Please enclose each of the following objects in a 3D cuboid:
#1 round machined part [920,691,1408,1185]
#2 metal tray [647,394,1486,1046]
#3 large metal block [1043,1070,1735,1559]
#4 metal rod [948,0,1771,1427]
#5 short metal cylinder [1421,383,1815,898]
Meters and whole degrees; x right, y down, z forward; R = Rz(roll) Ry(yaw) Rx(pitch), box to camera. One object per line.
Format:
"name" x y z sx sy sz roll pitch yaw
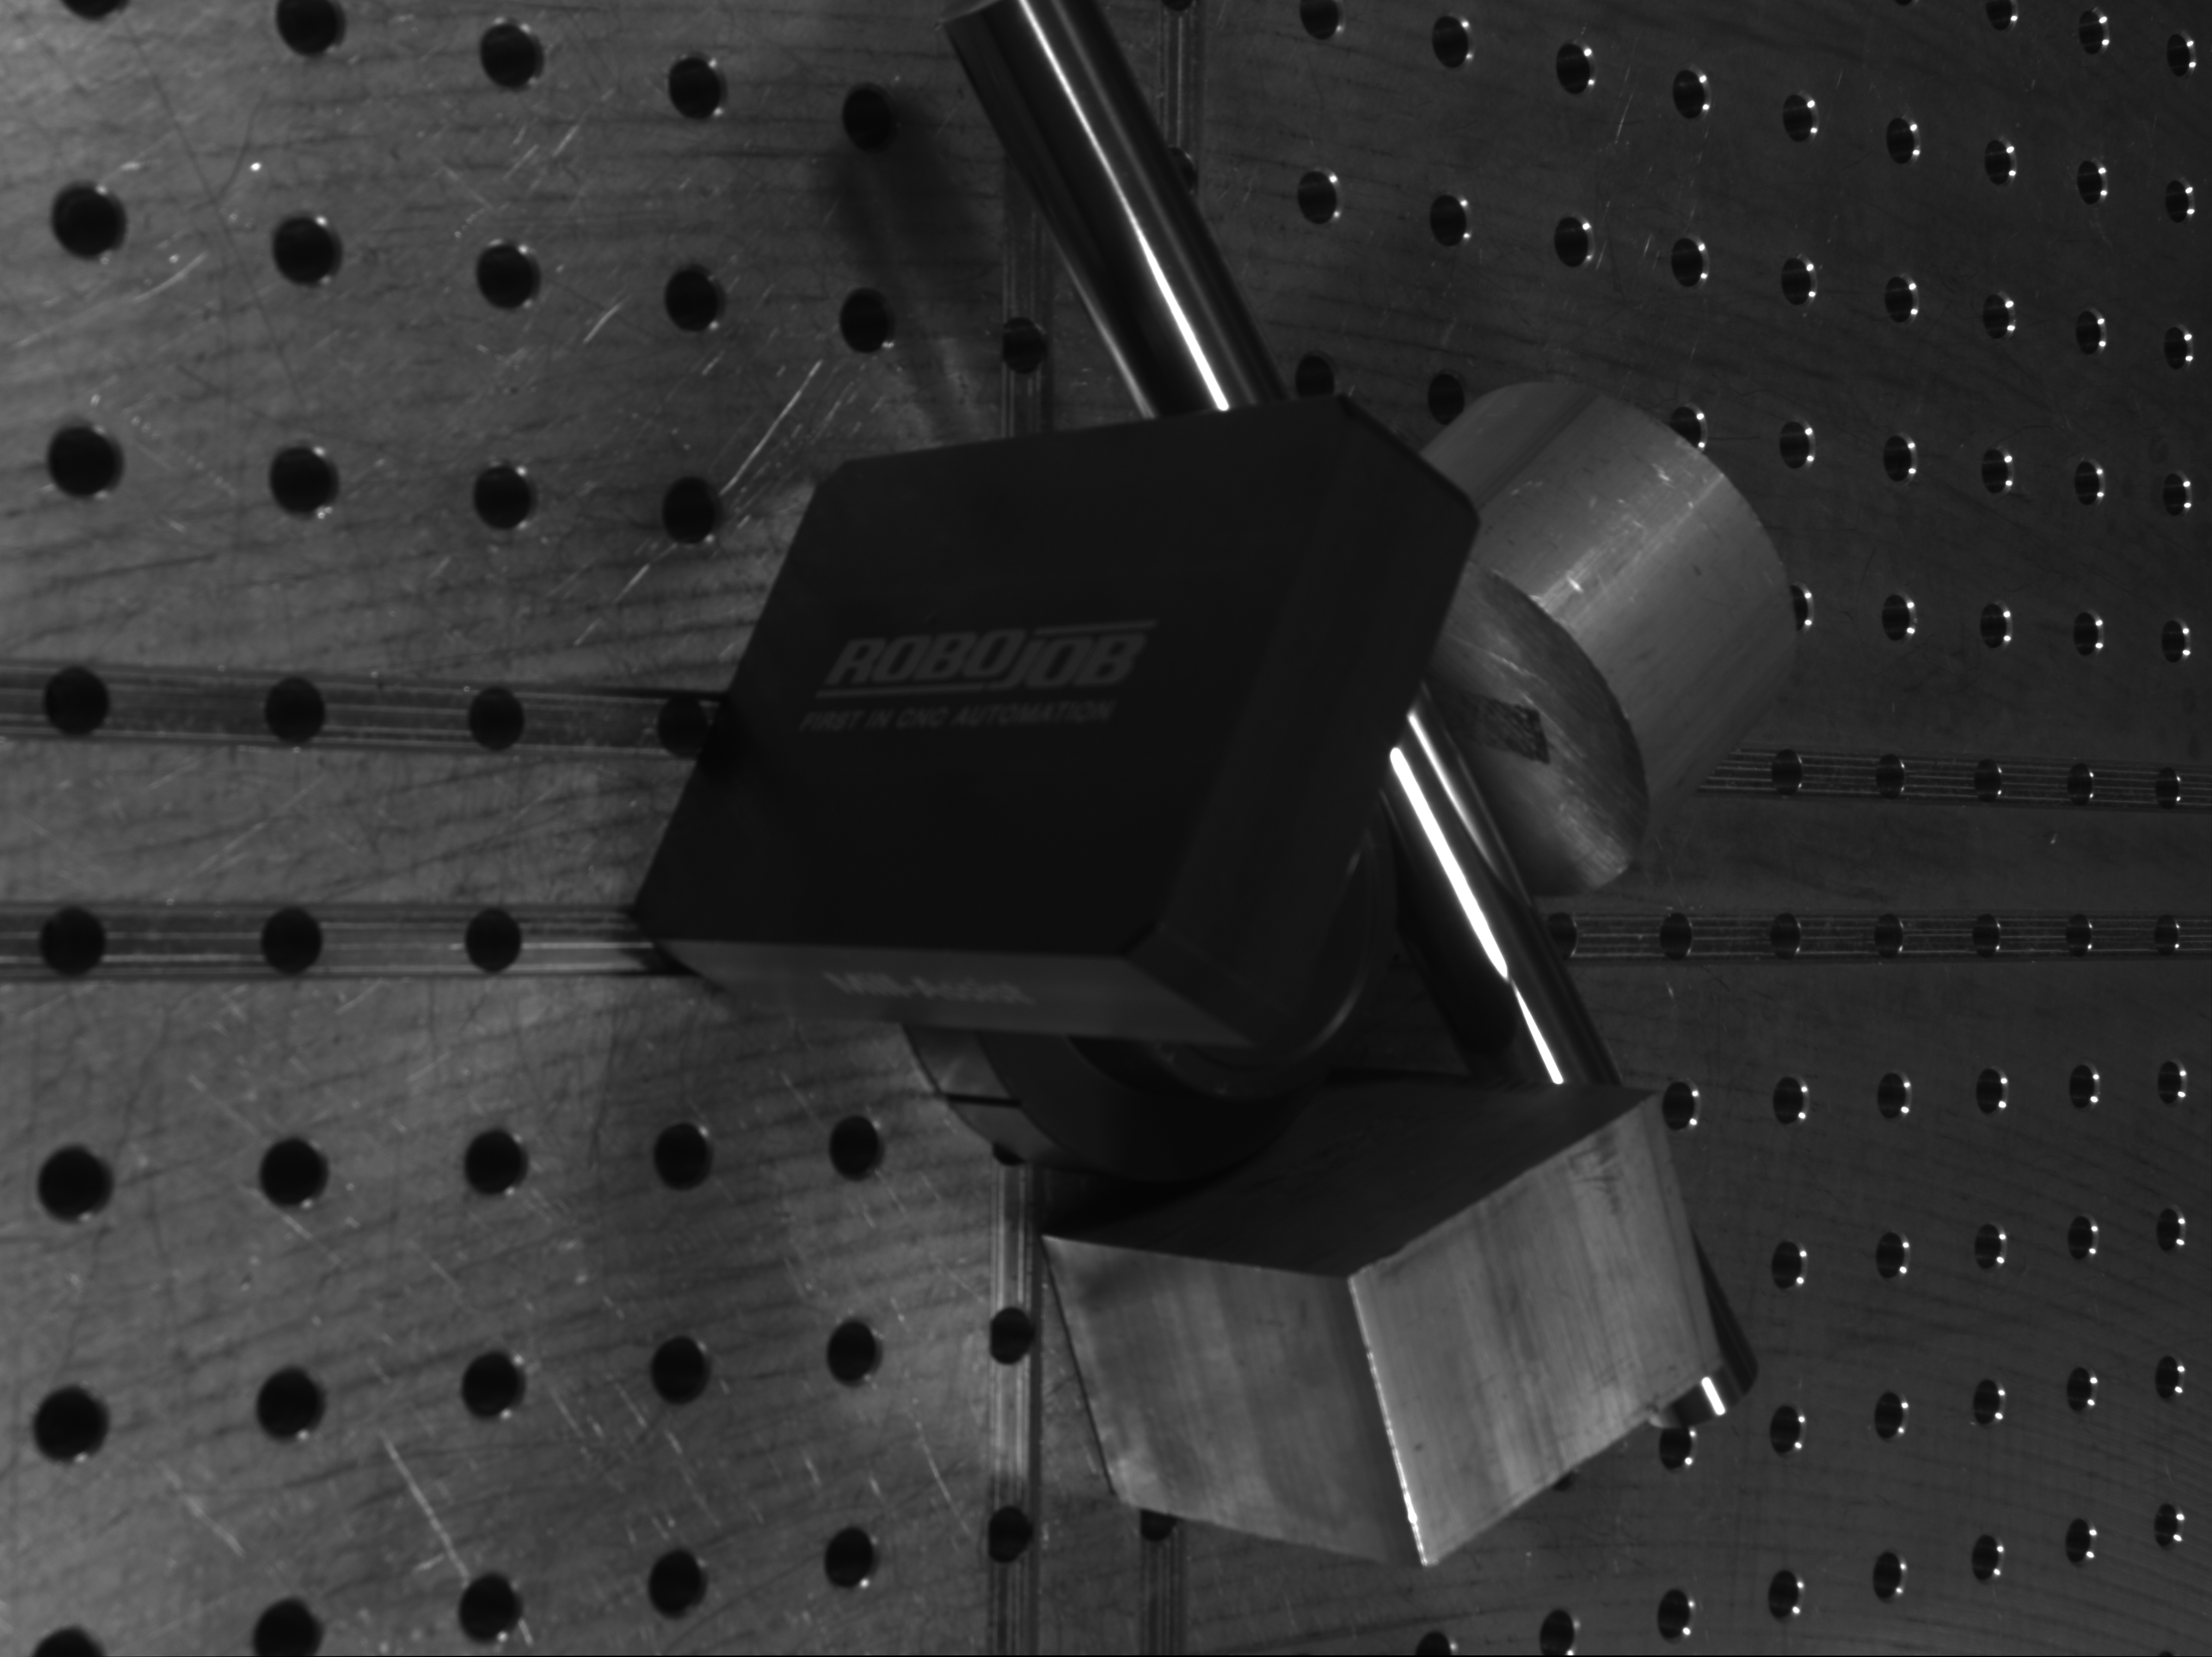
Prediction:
"round machined part" 0.014 0.013 0.641 0.098 0.042 0.098 0 90 -40
"metal tray" -0.009 -0.016 0.565 0.030 0.130 0.090 34 69 -34
"large metal block" 0.050 0.082 0.646 0.080 0.080 0.050 -24 105 -37
"metal rod" 0.051 -0.015 0.656 0.025 0.025 0.300 -42 115 -32
"short metal cylinder" 0.082 -0.034 0.672 0.050 0.080 0.080 -44 116 -31
